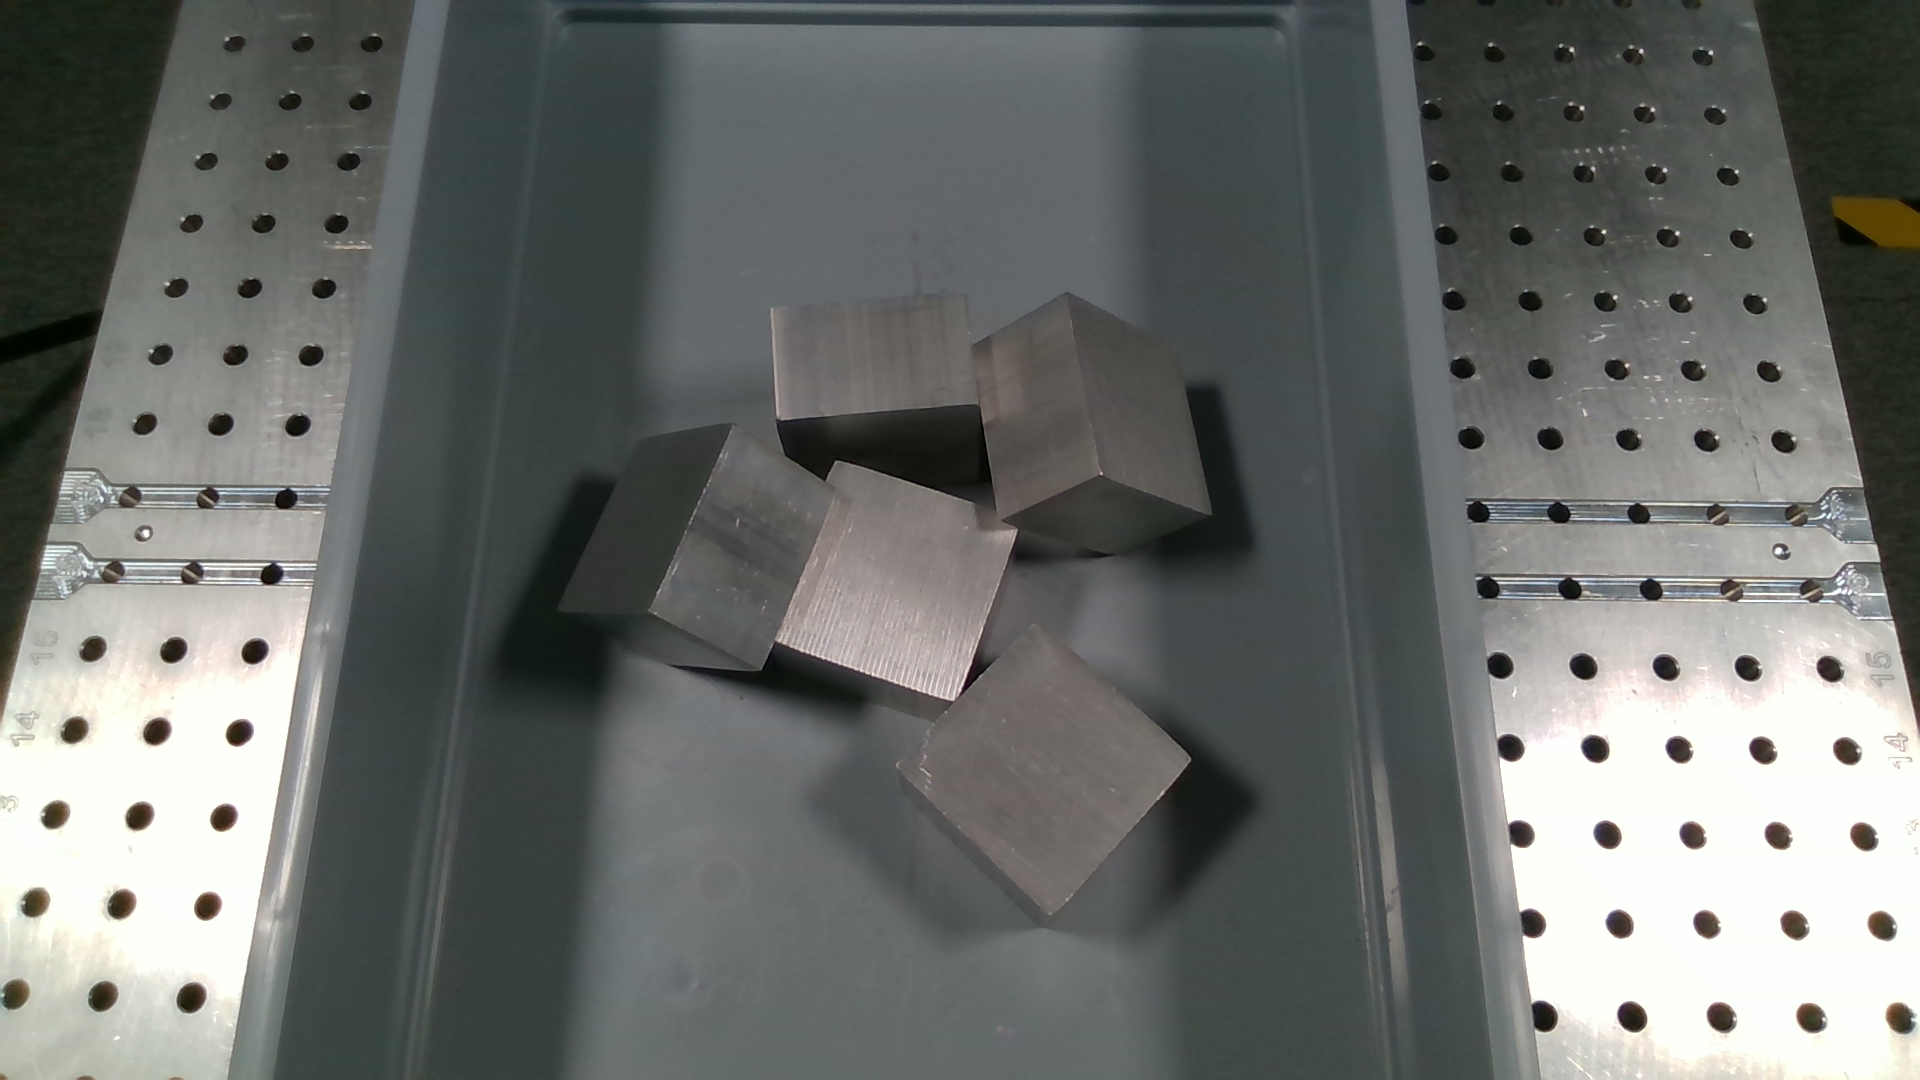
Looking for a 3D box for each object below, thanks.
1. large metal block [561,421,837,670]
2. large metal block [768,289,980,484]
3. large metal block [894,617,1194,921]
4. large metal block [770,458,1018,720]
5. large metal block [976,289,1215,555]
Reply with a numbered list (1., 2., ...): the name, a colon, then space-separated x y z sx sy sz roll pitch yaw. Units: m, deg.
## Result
1. large metal block: -0.105 0.003 0.550 0.050 0.080 0.080 33 69 -34
2. large metal block: -0.034 -0.060 0.579 0.080 0.080 0.050 -5 70 -2
3. large metal block: 0.032 0.092 0.541 0.080 0.050 0.080 42 75 13
4. large metal block: -0.026 0.023 0.567 0.080 0.050 0.080 18 71 6
5. large metal block: 0.055 -0.046 0.568 0.050 0.080 0.080 -24 64 36
